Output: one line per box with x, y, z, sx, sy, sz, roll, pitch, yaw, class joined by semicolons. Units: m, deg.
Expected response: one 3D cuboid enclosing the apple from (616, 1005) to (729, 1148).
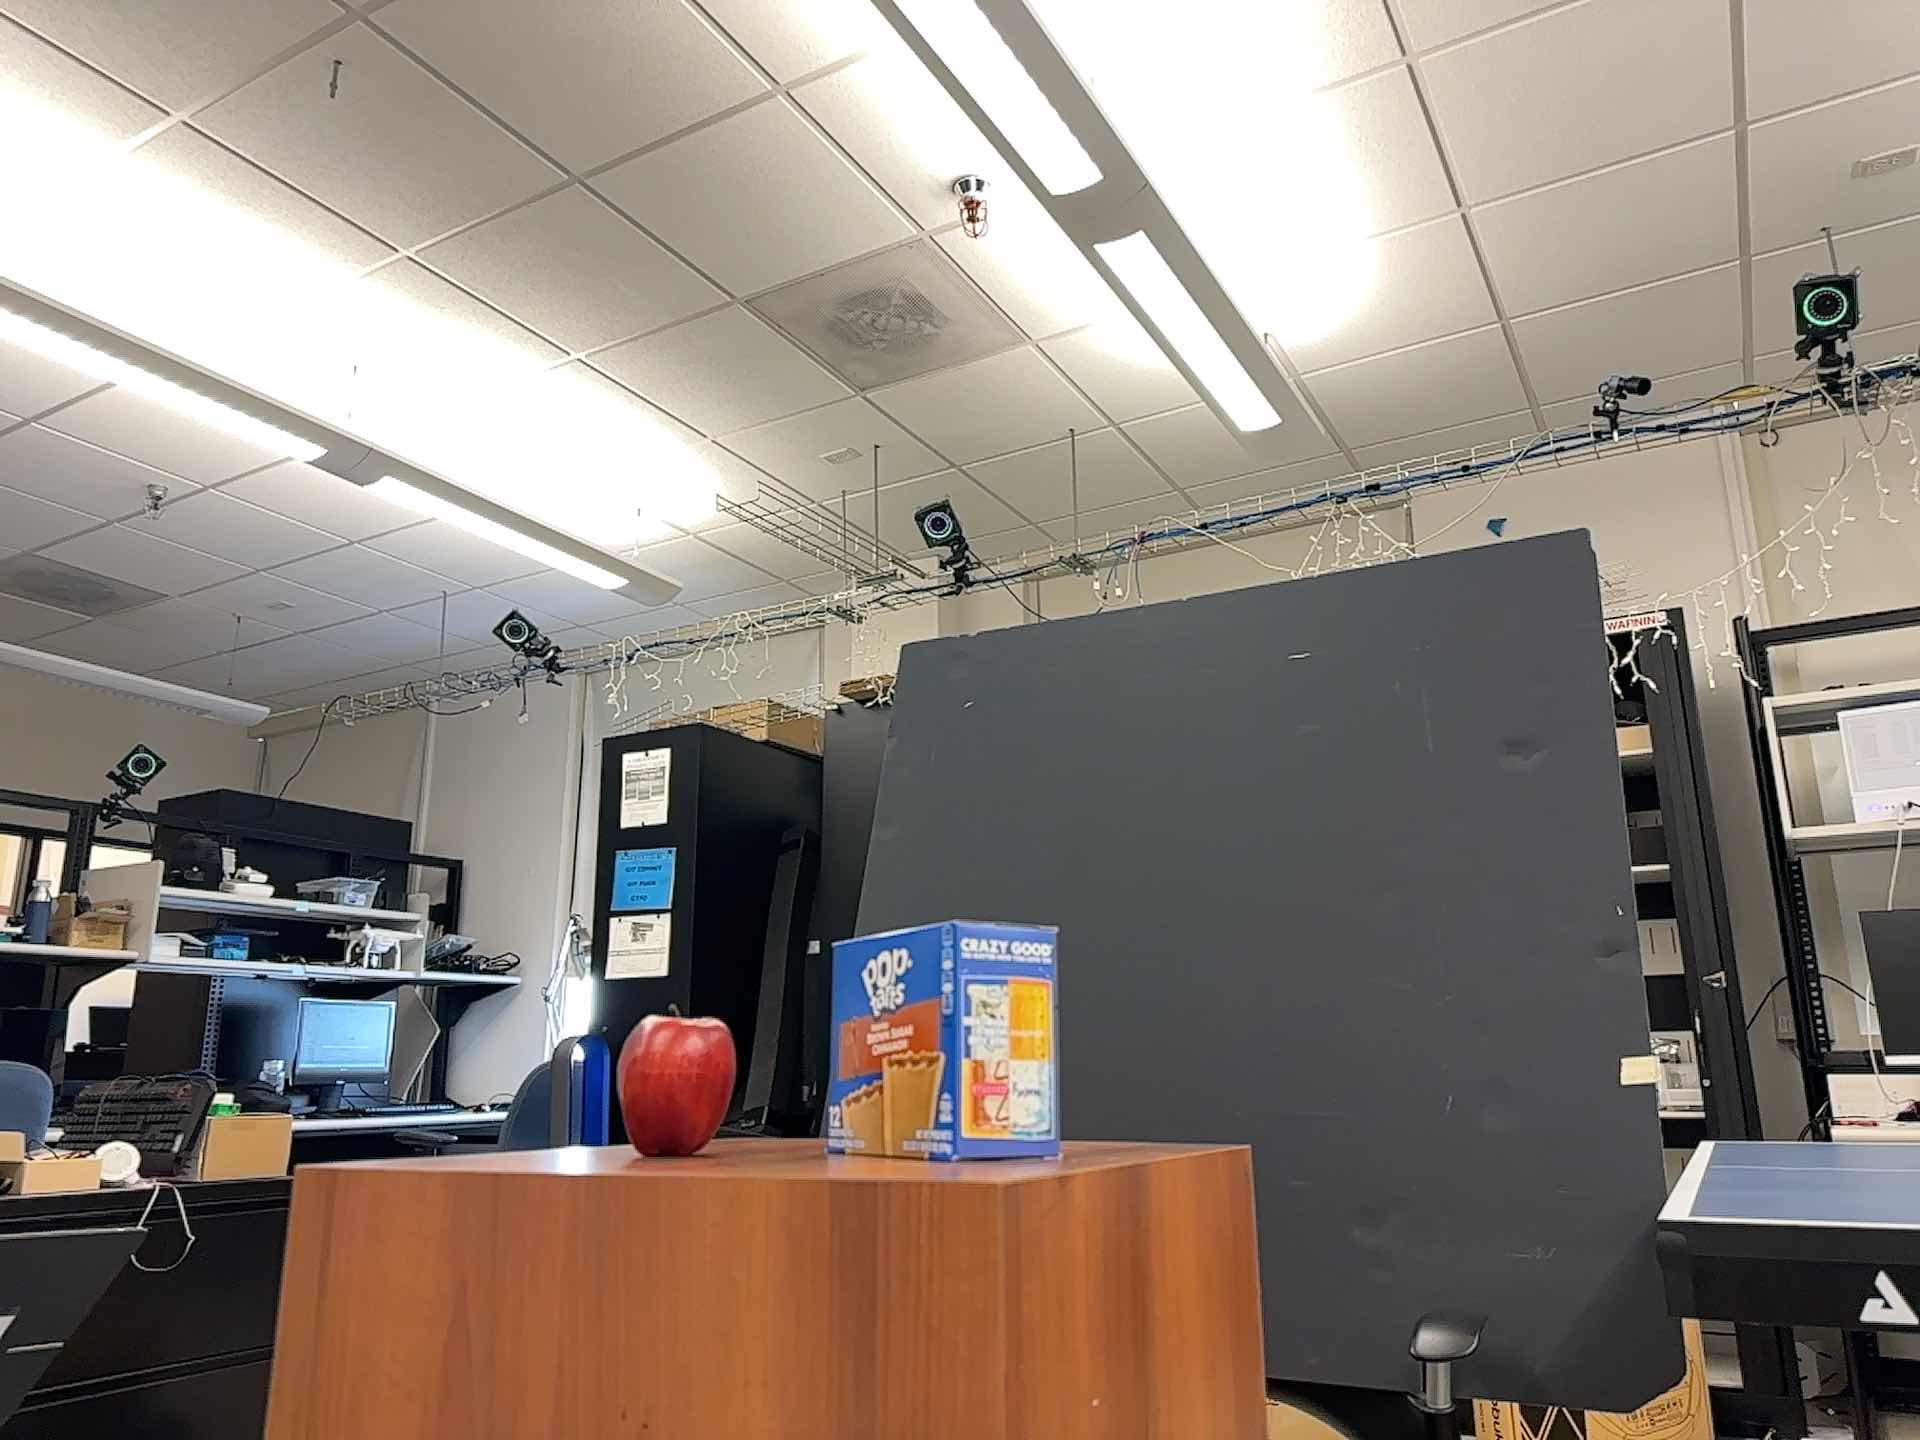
-0.199;0.243;0.920;0.079;0.093;0.079;0;-14;0;apple

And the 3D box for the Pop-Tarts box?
-0.016;0.213;0.893;0.075;0.135;0.161;9;-18;-30;Pop-Tarts box
